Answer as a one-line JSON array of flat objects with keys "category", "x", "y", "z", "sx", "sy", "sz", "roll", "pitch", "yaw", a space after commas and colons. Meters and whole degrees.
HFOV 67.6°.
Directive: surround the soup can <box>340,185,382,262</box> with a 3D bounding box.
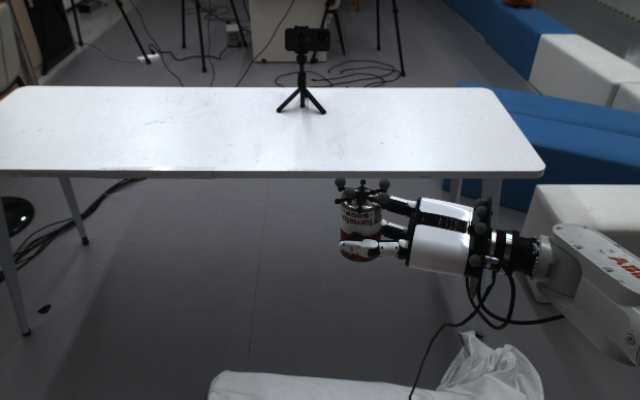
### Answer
[{"category": "soup can", "x": 0.068, "y": 0.038, "z": 0.774, "sx": 0.067, "sy": 0.101, "sz": 0.067, "roll": -2, "pitch": 34, "yaw": 1}]
